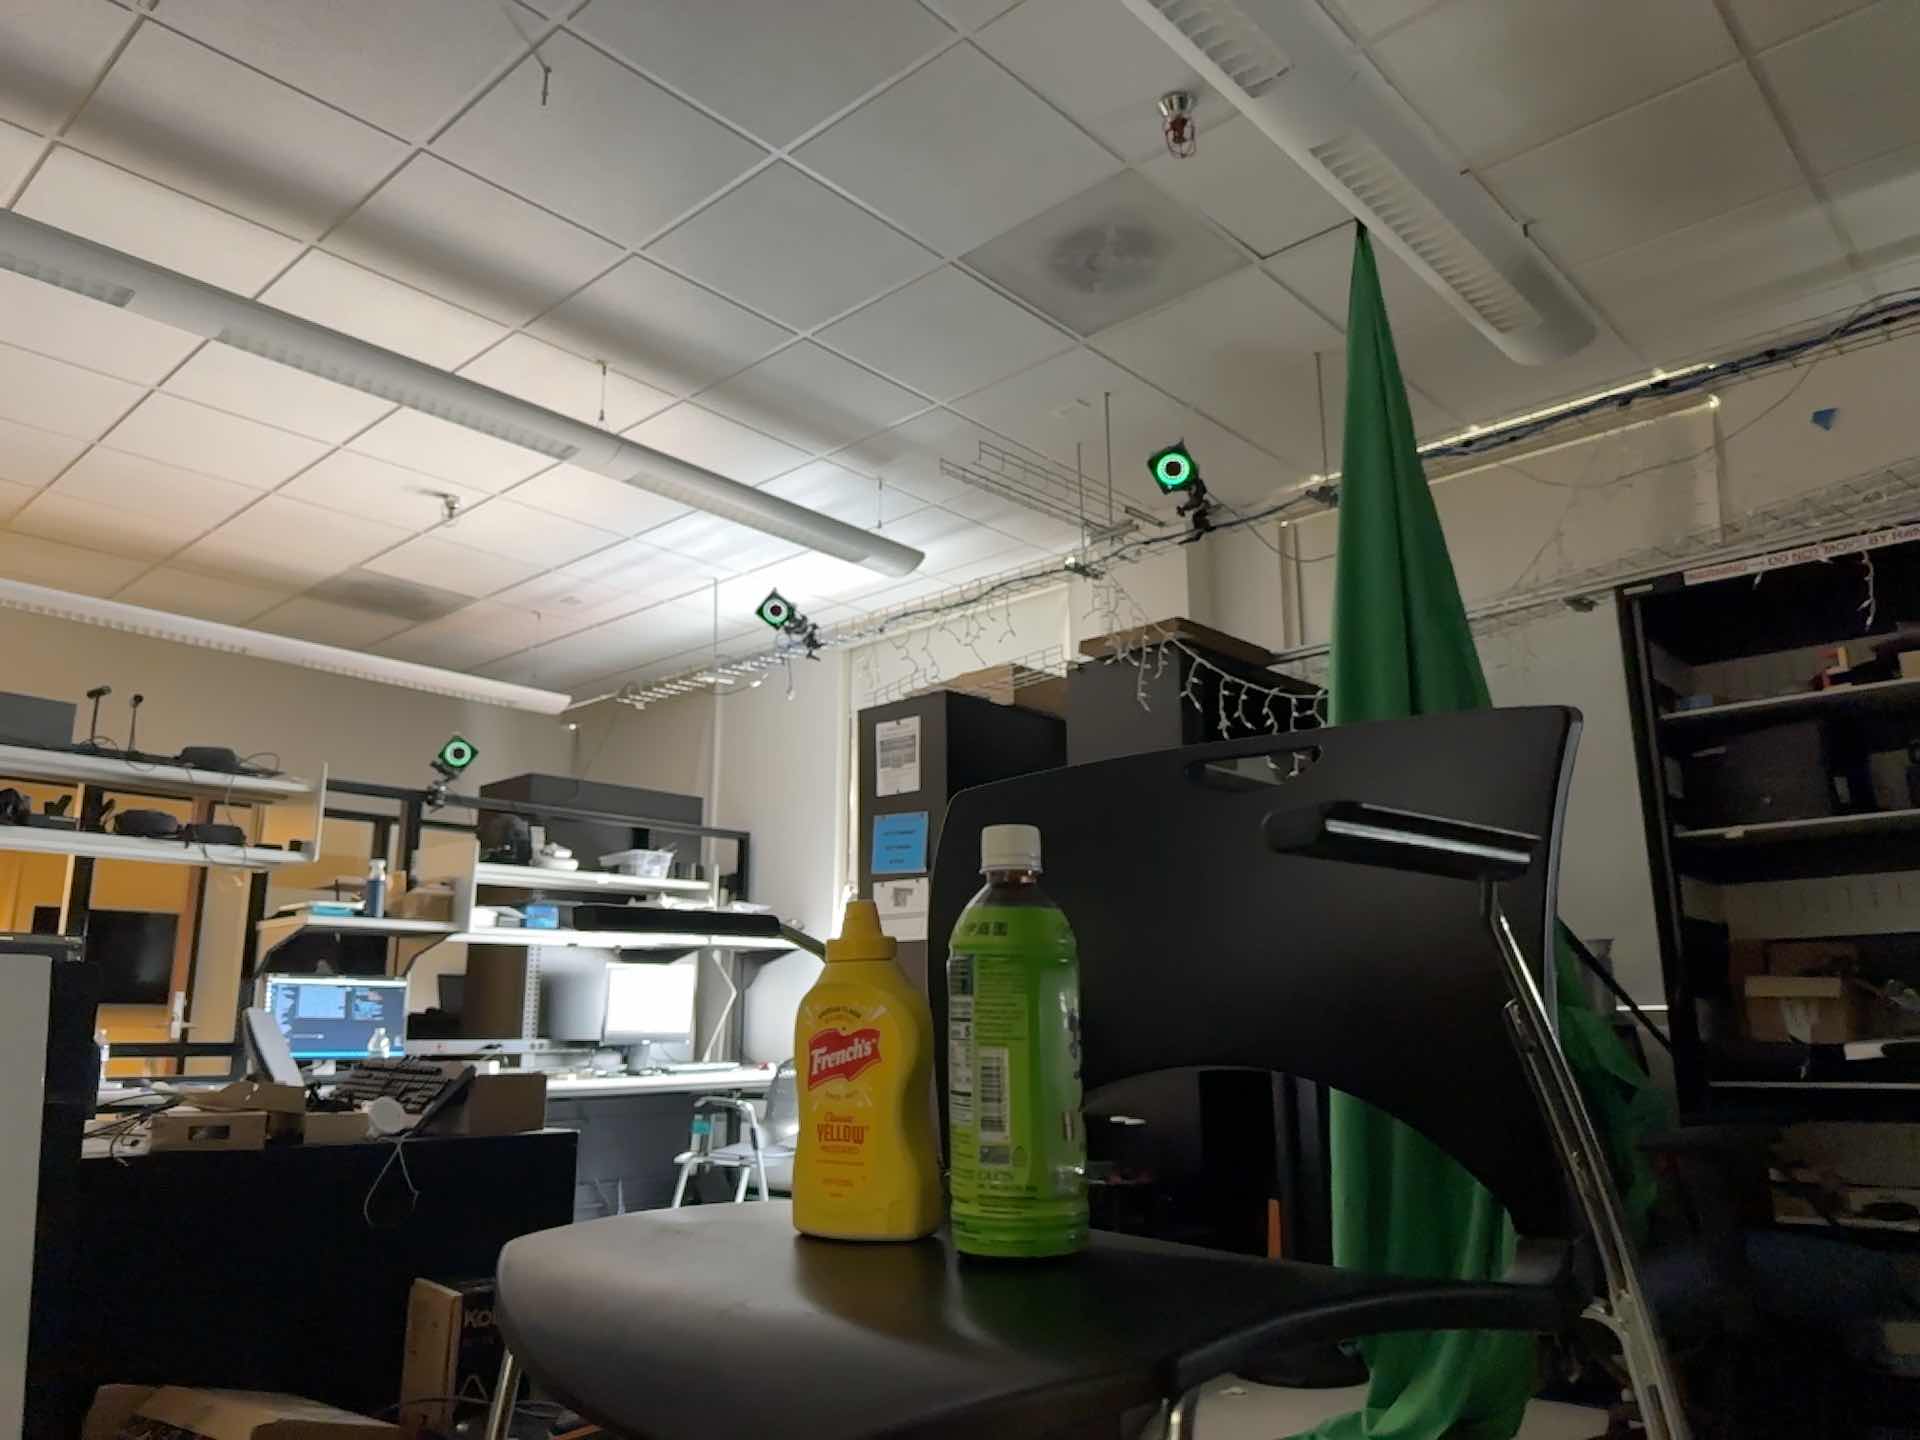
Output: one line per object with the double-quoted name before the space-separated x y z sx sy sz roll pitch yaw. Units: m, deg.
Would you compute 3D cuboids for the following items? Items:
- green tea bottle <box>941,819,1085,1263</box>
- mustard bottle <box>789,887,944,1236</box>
"green tea bottle" 0.025 0.156 0.680 0.073 0.212 0.073 0 -9 0
"mustard bottle" -0.053 0.185 0.752 0.092 0.184 0.054 -9 -13 38
